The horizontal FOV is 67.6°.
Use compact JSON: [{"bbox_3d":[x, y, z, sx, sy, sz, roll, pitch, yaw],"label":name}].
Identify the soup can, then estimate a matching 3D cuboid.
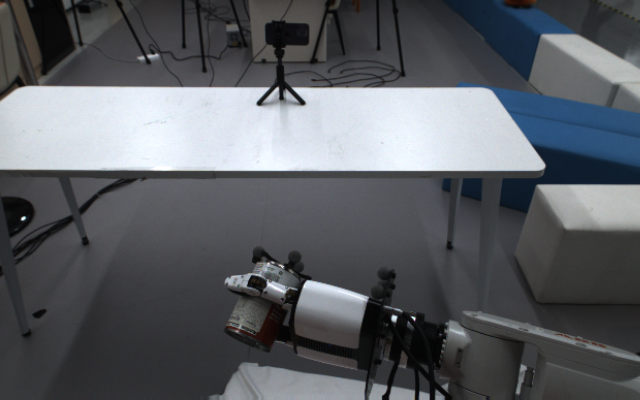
[{"bbox_3d":[-0.072,0.139,0.637,0.067,0.067,0.101,15,63,18],"label":"soup can"}]
